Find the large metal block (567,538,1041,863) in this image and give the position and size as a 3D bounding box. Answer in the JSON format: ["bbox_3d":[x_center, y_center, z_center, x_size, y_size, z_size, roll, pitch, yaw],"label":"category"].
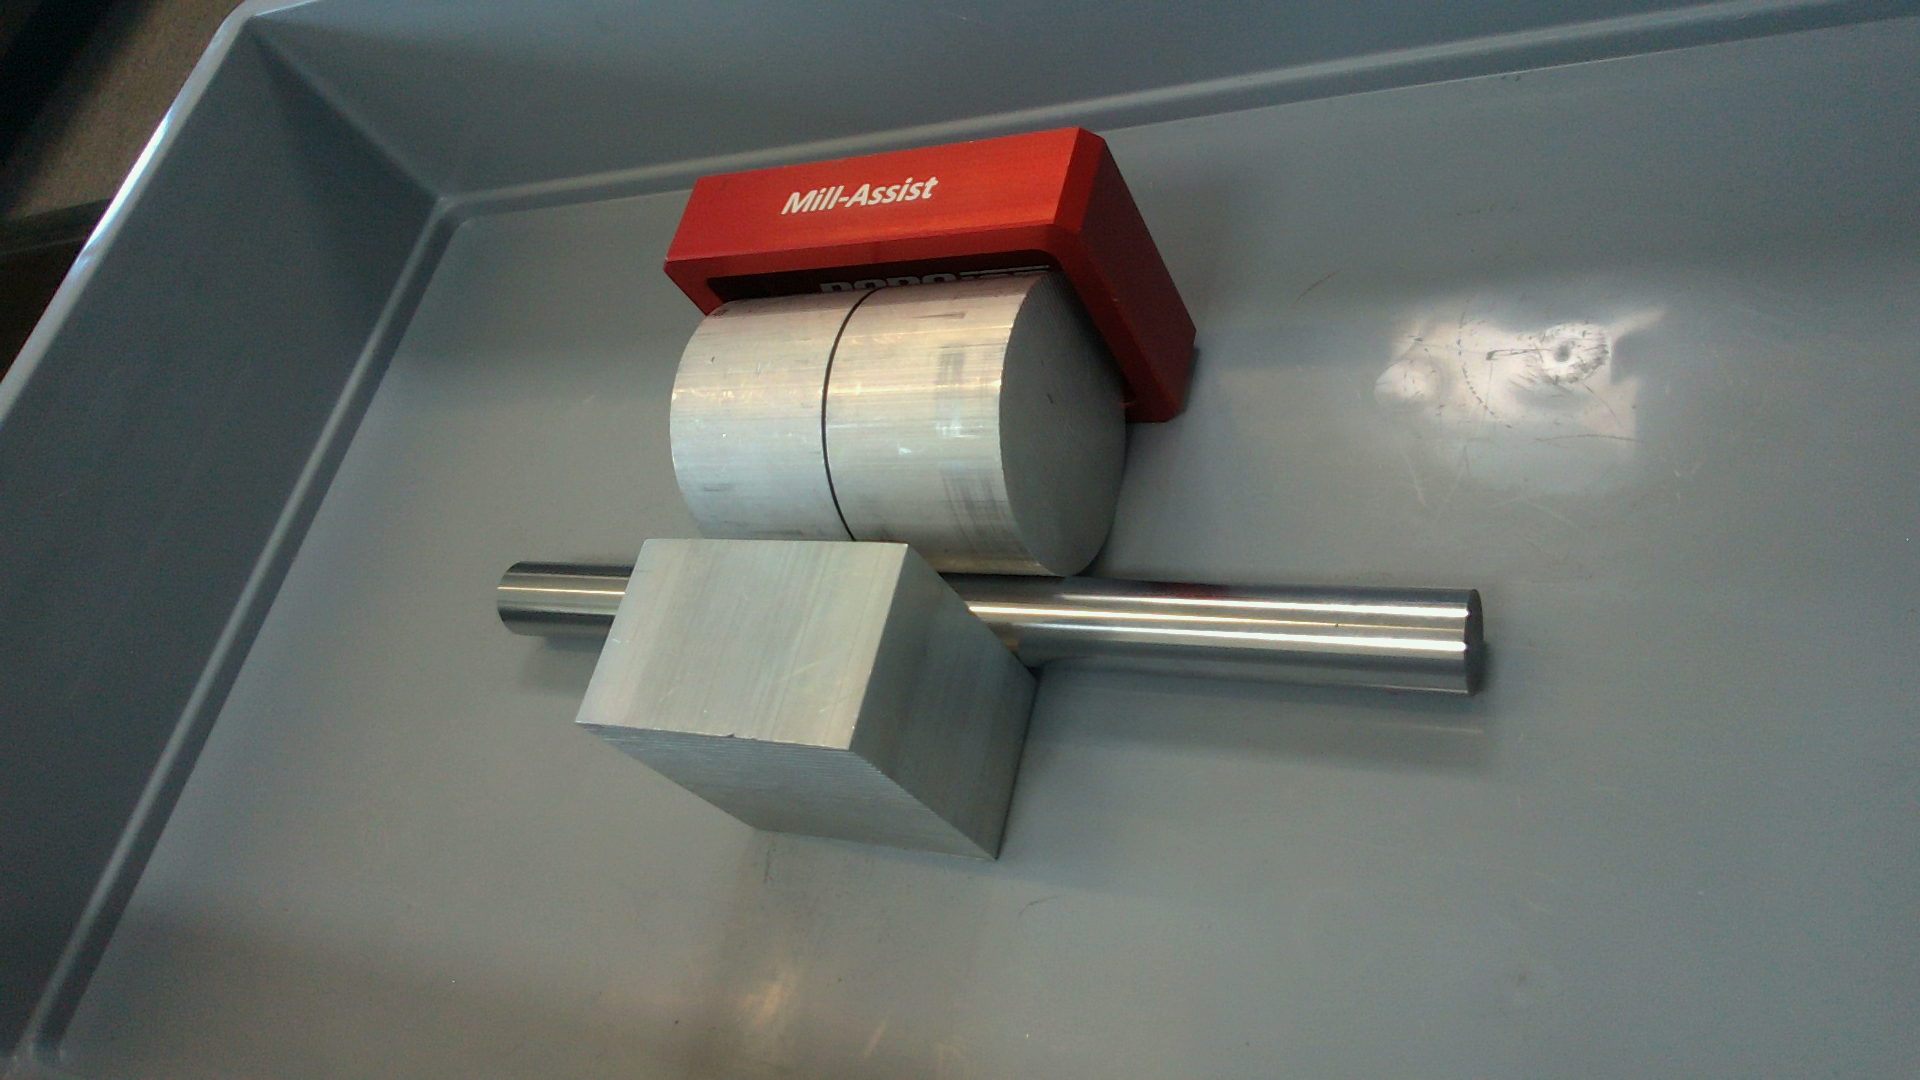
[{"bbox_3d":[-0.036,0.041,0.350,0.080,0.080,0.050,1,62,29],"label":"large metal block"}]

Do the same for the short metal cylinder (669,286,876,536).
[{"bbox_3d":[-0.038,-0.032,0.398,0.050,0.080,0.080,1,62,29],"label":"short metal cylinder"}]

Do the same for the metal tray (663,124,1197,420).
[{"bbox_3d":[-0.008,-0.070,0.397,0.130,0.090,0.030,1,62,29],"label":"metal tray"}]

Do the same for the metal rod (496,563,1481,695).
[{"bbox_3d":[-0.014,0.021,0.386,0.299,0.025,0.025,1,62,29],"label":"metal rod"}]

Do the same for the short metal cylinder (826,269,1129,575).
[{"bbox_3d":[0.007,-0.031,0.373,0.050,0.080,0.080,2,62,29],"label":"short metal cylinder"}]
